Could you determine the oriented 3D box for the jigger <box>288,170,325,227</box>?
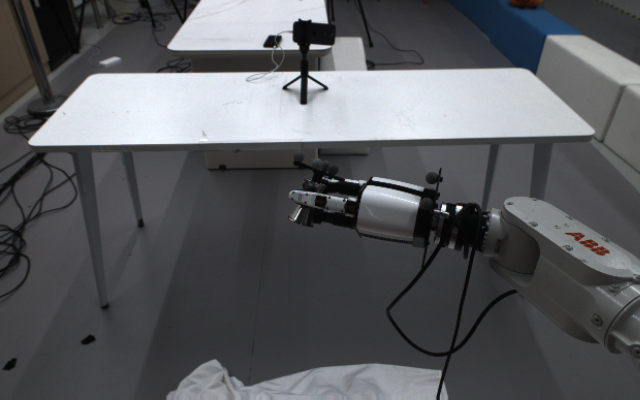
[{"bbox_3d":[-0.020,0.002,0.747,0.043,0.071,0.043,22,6,-2],"label":"jigger"}]
